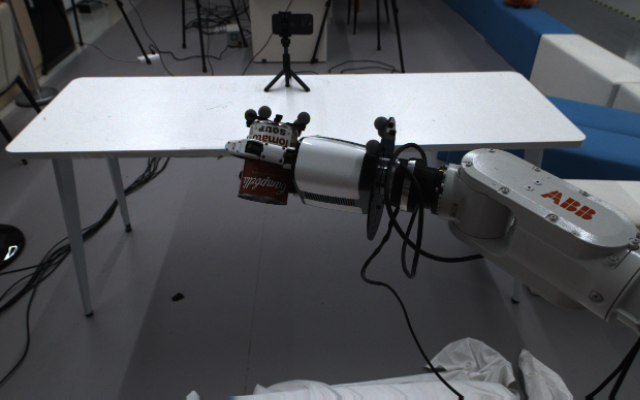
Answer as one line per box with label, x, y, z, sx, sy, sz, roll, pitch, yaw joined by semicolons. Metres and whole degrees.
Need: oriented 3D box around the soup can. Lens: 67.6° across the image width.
soup can;-0.069;-0.048;0.651;0.067;0.101;0.067;9;-6;1
